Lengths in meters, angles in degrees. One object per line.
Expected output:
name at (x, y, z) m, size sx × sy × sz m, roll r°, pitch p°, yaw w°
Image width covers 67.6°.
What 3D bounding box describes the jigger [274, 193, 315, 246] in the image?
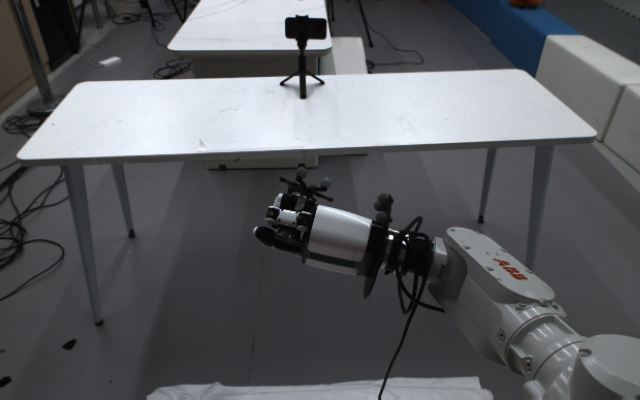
jigger at (-0.037, 0.028, 0.727) m, size 0.043 × 0.043 × 0.071 m, roll 15°, pitch 70°, yaw 18°
